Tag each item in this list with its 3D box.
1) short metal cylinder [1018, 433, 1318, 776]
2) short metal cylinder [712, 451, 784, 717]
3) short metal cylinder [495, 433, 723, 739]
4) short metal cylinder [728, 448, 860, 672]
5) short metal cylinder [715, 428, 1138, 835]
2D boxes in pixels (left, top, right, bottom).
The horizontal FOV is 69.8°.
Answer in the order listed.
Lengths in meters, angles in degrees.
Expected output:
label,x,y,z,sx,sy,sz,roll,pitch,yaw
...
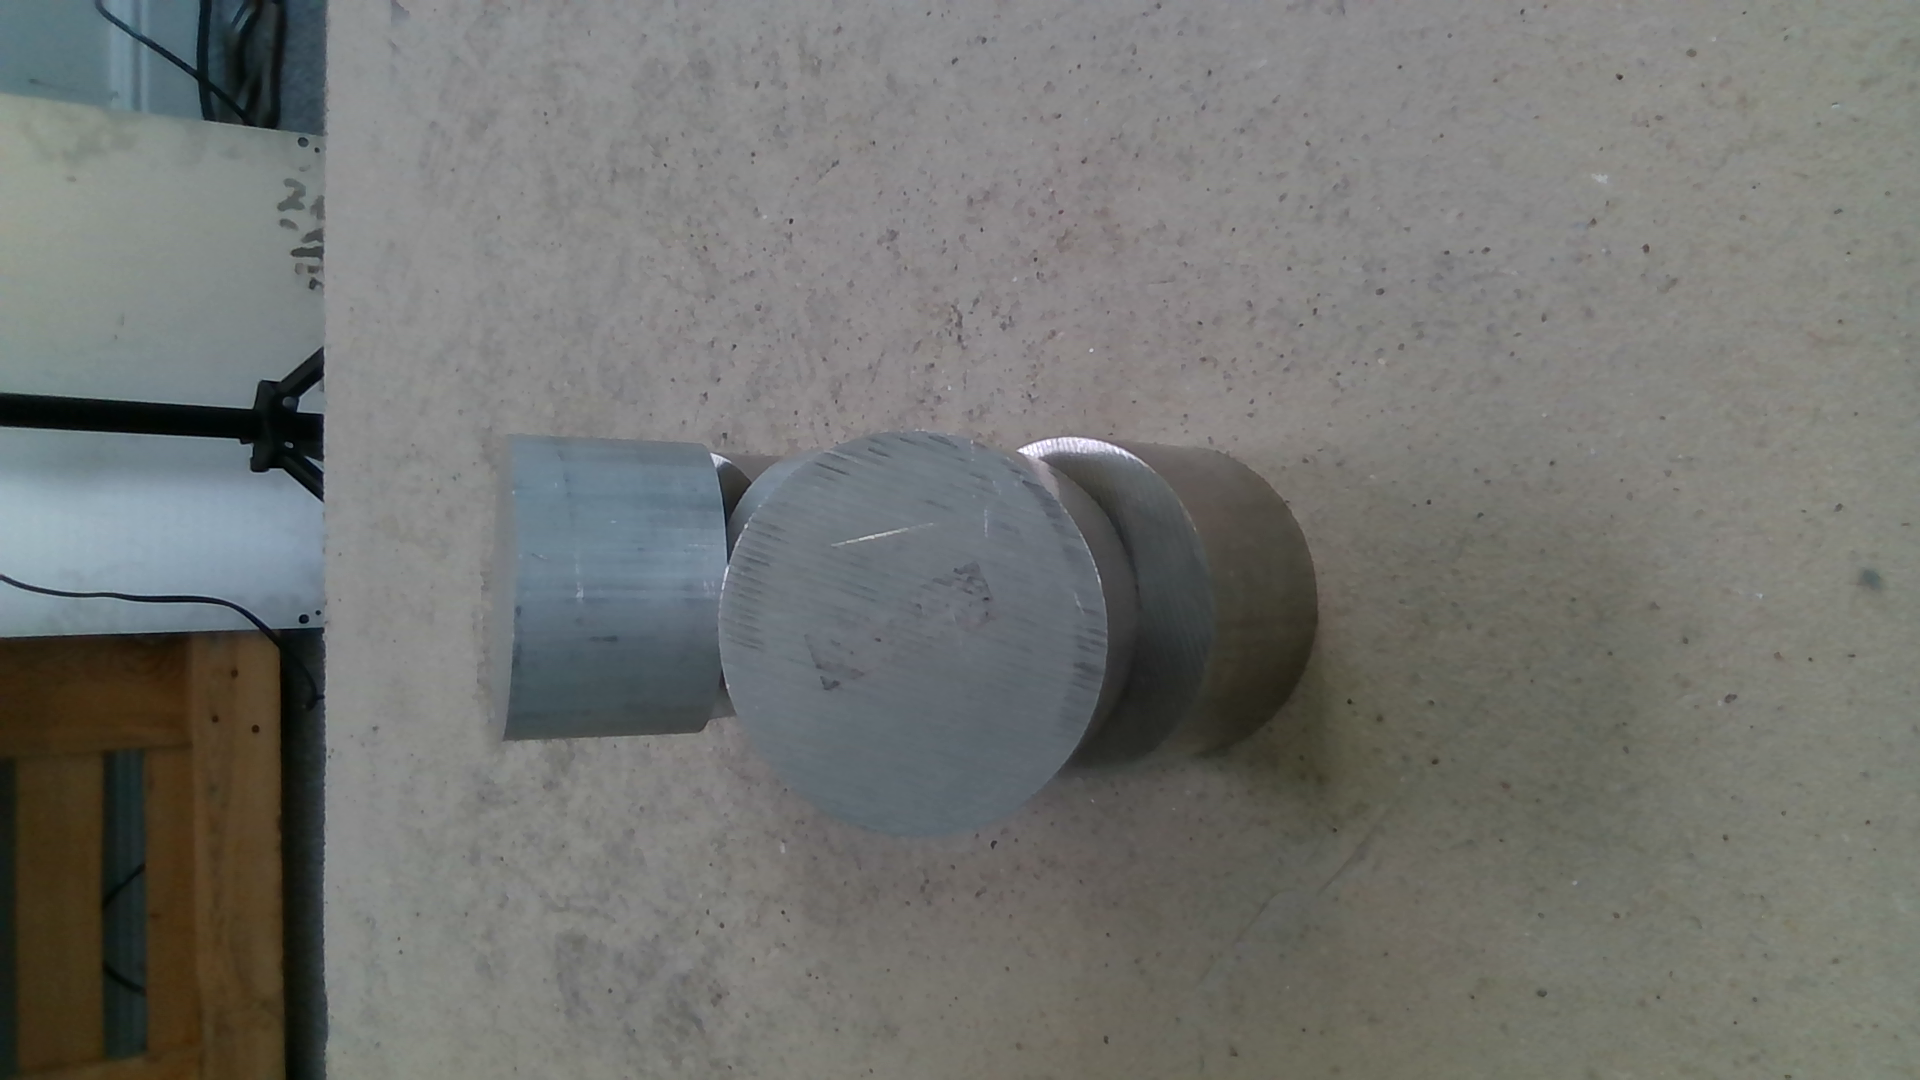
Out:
label,x,y,z,sx,sy,sz,roll,pitch,yaw
short metal cylinder,0.040,0.015,0.341,0.080,0.050,0.080,0,91,40
short metal cylinder,-0.064,0.013,0.429,0.080,0.050,0.080,0,91,40
short metal cylinder,-0.097,0.012,0.370,0.080,0.050,0.080,180,91,-68
short metal cylinder,-0.019,0.014,0.372,0.050,0.080,0.080,2,92,40
short metal cylinder,-0.005,0.018,0.294,0.080,0.050,0.080,0,91,15
